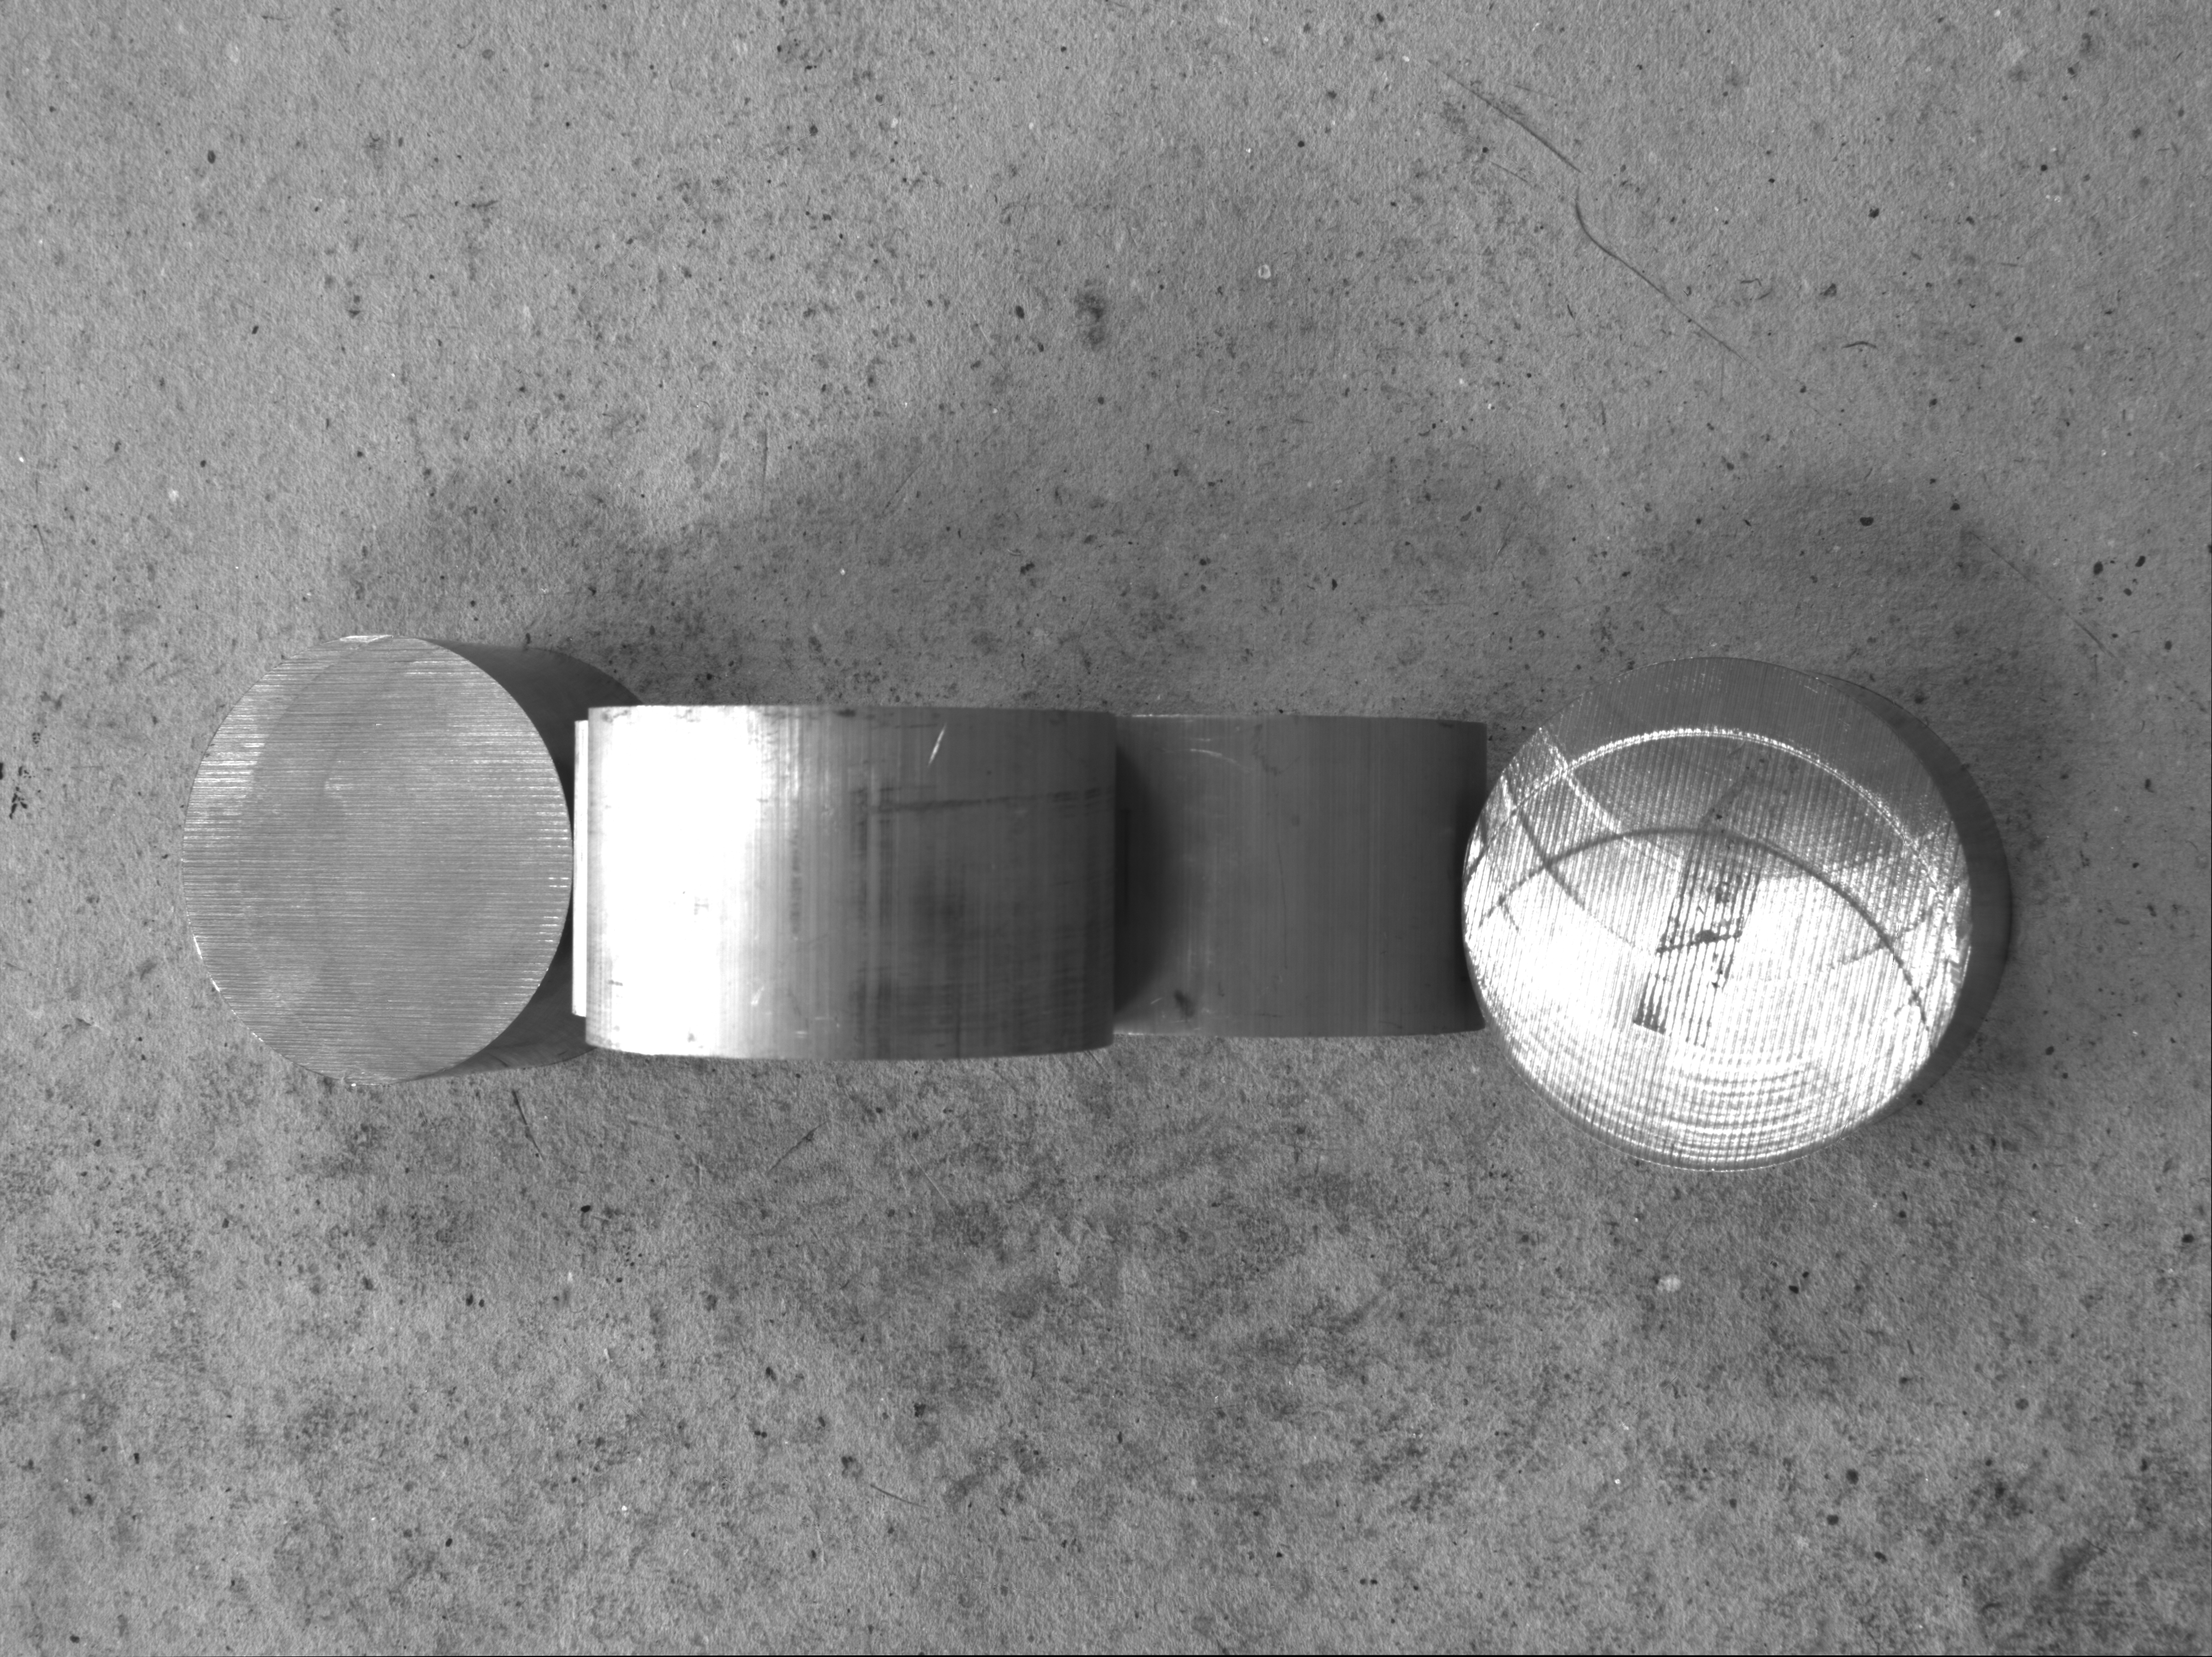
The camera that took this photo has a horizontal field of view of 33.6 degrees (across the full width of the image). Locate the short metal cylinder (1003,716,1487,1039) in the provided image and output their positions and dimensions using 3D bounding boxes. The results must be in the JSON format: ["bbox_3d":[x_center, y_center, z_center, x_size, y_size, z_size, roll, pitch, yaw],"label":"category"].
[{"bbox_3d":[0.023,0.008,0.609,0.080,0.080,0.050,0,89,20],"label":"short metal cylinder"}]

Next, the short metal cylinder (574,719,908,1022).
[{"bbox_3d":[-0.052,0.007,0.636,0.080,0.080,0.050,0,90,20],"label":"short metal cylinder"}]

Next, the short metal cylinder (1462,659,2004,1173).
[{"bbox_3d":[0.103,0.014,0.595,0.080,0.050,0.080,0,90,20],"label":"short metal cylinder"}]

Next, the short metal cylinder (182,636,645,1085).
[{"bbox_3d":[-0.122,0.006,0.677,0.080,0.050,0.080,0,90,20],"label":"short metal cylinder"}]

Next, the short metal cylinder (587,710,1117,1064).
[{"bbox_3d":[-0.038,0.008,0.557,0.080,0.080,0.050,1,91,20],"label":"short metal cylinder"}]
